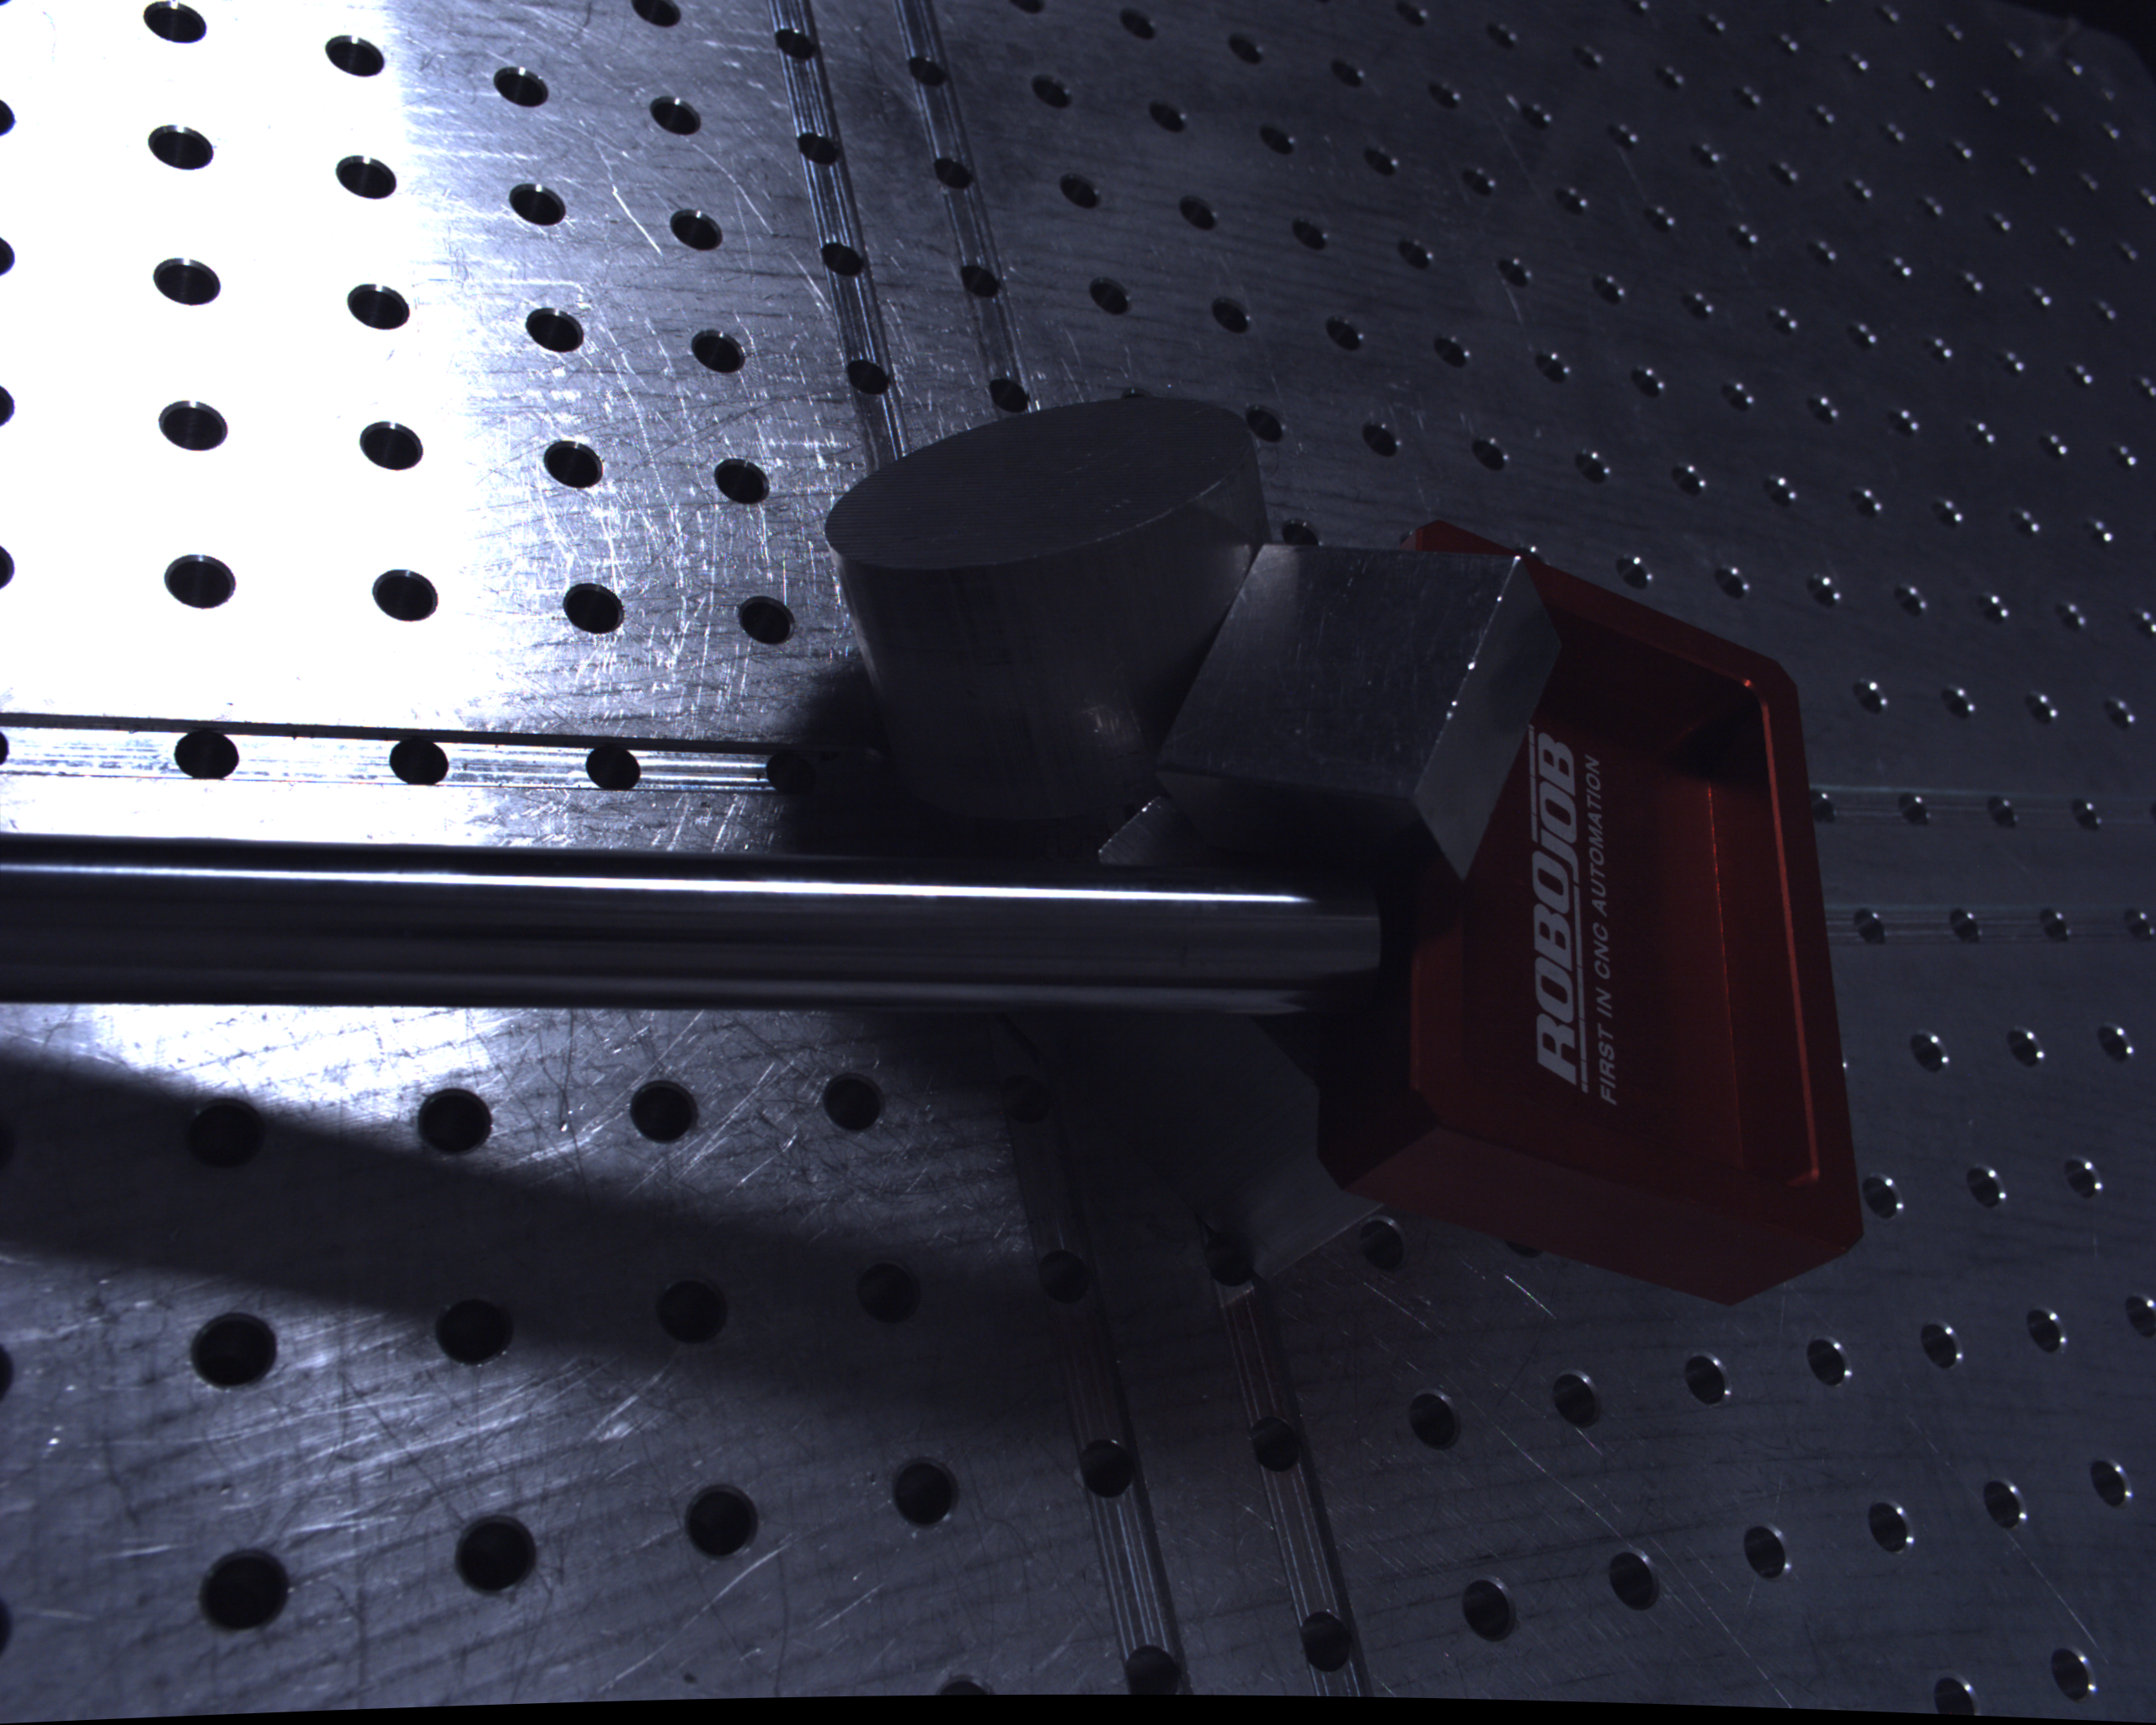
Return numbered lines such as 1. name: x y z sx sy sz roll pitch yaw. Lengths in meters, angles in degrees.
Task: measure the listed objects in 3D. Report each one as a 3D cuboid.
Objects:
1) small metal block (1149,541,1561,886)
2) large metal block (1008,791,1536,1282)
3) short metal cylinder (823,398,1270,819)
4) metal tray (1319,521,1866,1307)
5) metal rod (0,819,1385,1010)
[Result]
1. small metal block: 0.048 -0.027 0.359 0.025 0.050 0.050 50 58 -46
2. large metal block: 0.042 0.019 0.403 0.080 0.050 0.080 46 51 3
3. short metal cylinder: -0.002 -0.050 0.396 0.080 0.080 0.050 -40 128 -39
4. metal tray: 0.093 0.007 0.385 0.091 0.030 0.130 19 54 -17
5. metal rod: -0.099 0.008 0.313 0.302 0.025 0.025 2 60 -15
